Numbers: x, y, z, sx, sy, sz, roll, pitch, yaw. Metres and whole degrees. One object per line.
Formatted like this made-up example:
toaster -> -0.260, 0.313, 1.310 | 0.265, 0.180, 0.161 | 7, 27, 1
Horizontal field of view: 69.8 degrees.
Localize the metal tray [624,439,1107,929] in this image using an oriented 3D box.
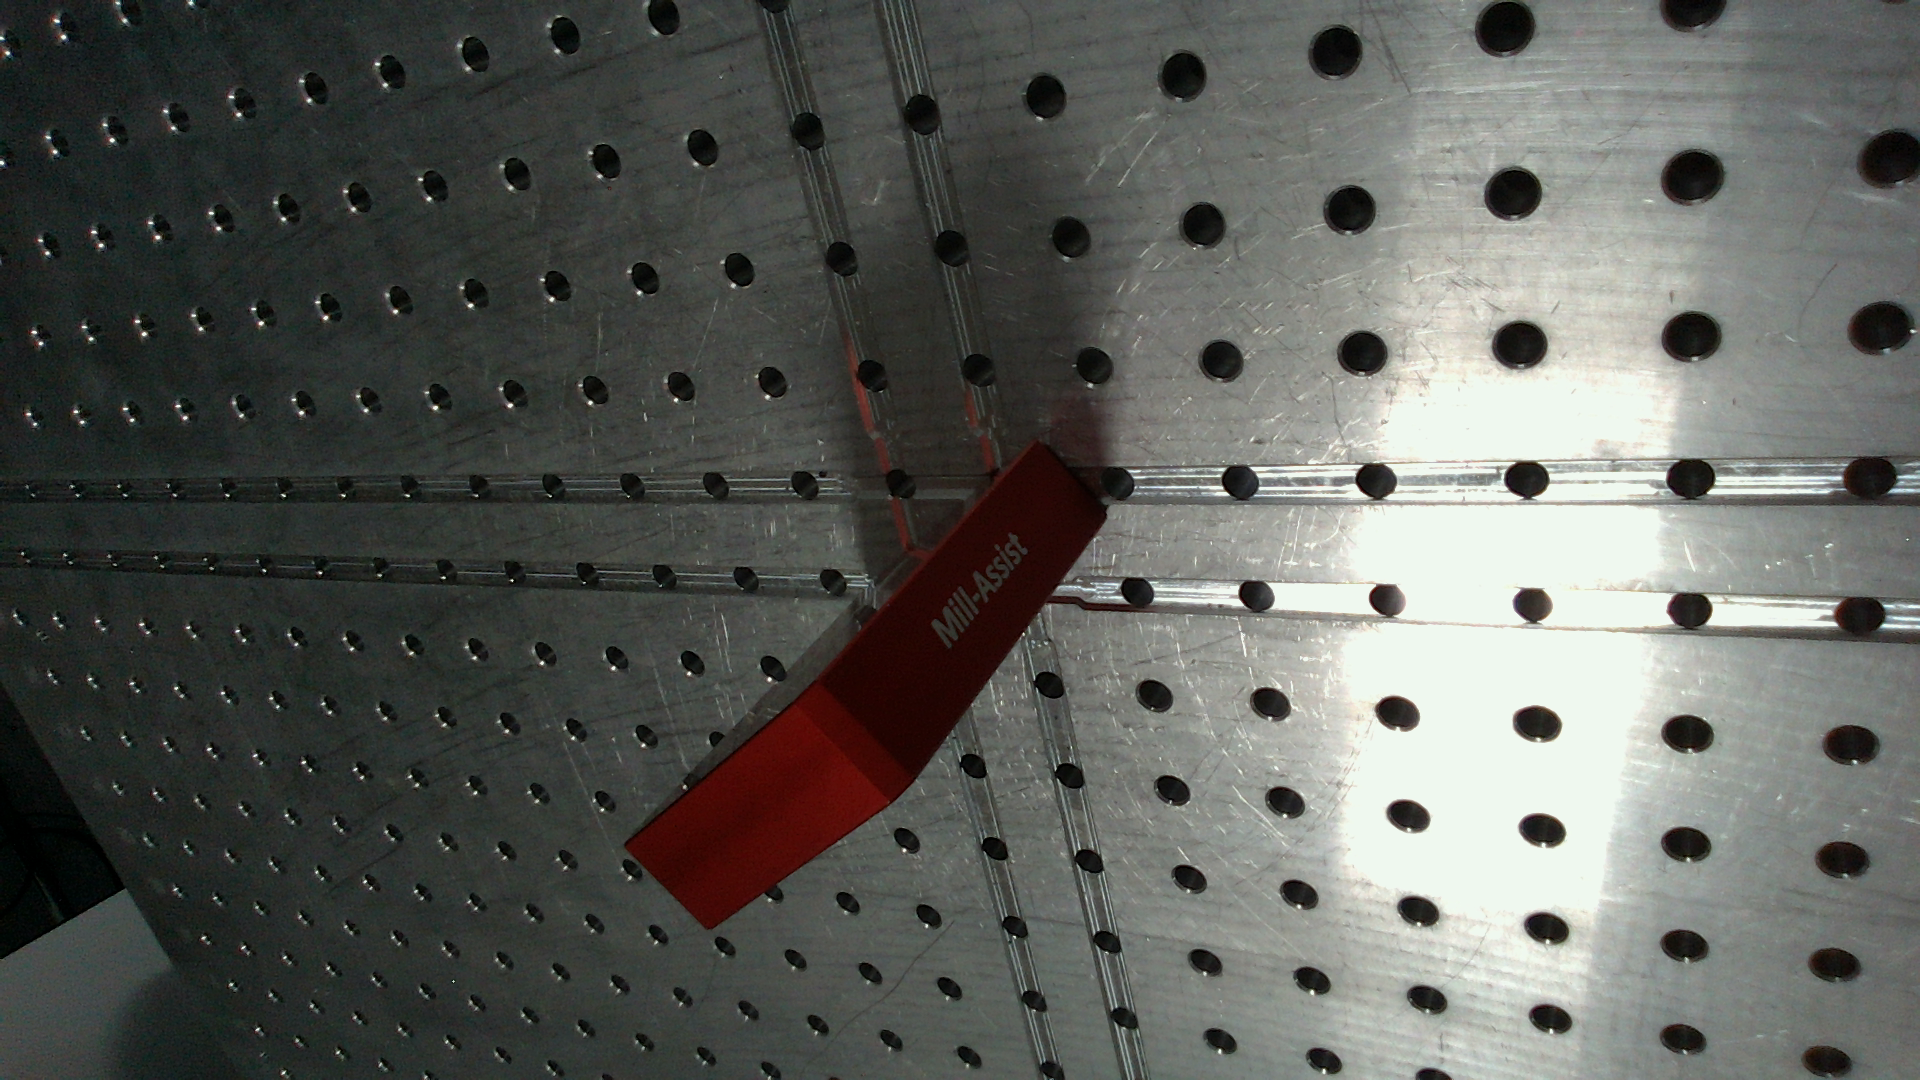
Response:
metal tray -> -0.021, 0.034, 0.360 | 0.030, 0.130, 0.090 | 46, 129, -4
